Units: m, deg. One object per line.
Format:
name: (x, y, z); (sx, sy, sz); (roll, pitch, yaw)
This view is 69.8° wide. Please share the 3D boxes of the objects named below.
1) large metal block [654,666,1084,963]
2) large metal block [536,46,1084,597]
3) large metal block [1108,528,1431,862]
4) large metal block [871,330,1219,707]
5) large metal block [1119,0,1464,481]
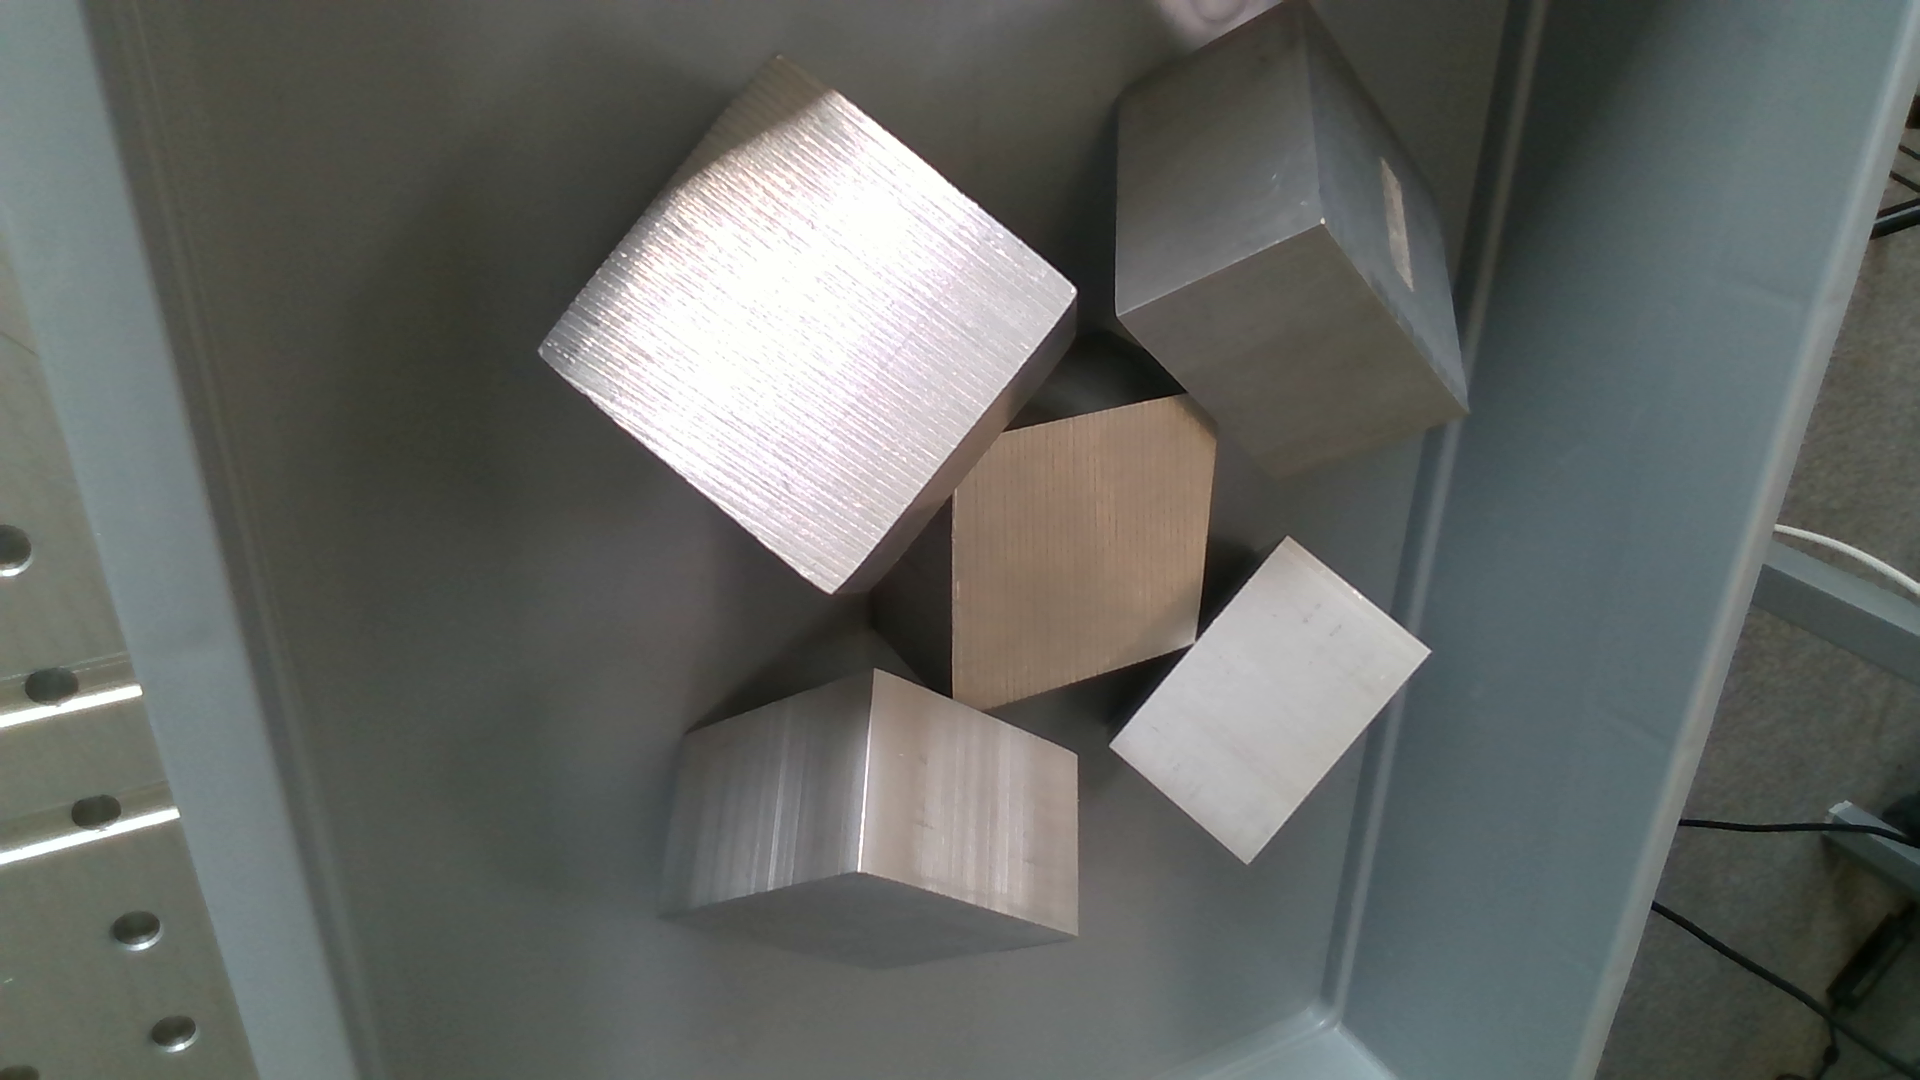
large metal block: (-0.023, 0.079, 0.373); (0.080, 0.050, 0.080); (-22, 144, 39)
large metal block: (-0.029, -0.044, 0.304); (0.080, 0.050, 0.080); (39, 92, 5)
large metal block: (0.091, 0.046, 0.427); (0.080, 0.050, 0.080); (-51, 173, 1)
large metal block: (0.022, -0.007, 0.381); (0.080, 0.050, 0.080); (-14, 121, -25)
large metal block: (0.084, -0.075, 0.354); (0.050, 0.080, 0.080); (-20, 140, 34)
